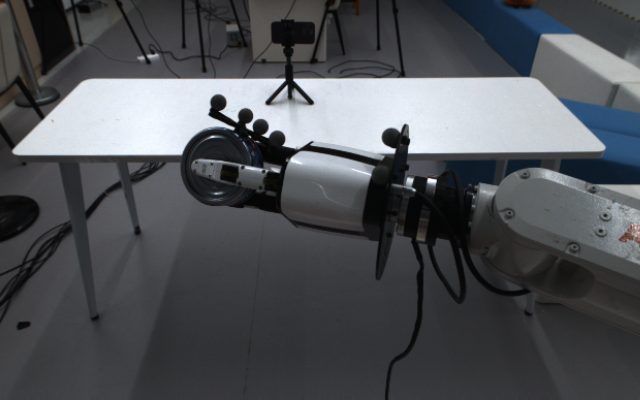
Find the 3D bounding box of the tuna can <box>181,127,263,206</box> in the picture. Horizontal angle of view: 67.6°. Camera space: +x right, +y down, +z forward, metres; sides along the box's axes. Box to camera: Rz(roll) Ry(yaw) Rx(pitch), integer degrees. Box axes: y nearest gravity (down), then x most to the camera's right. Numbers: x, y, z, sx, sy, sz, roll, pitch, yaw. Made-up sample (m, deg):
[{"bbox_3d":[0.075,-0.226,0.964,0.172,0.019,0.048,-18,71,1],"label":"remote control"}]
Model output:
[{"bbox_3d":[-0.106,-0.036,0.529,0.085,0.085,0.034,12,4,14],"label":"tuna can"}]
